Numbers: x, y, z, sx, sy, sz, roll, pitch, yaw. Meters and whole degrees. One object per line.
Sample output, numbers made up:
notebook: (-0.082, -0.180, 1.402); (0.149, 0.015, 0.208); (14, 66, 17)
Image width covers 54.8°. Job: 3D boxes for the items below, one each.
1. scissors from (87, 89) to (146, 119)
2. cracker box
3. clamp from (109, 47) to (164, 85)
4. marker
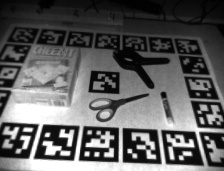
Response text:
scissors: (0.021, 0.041, 0.682); (0.204, 0.016, 0.086); (-19, 52, -23)
cracker box: (-0.208, -0.047, 0.704); (0.164, 0.072, 0.212); (4, 49, -1)
clamp: (0.075, -0.095, 0.811); (0.201, 0.037, 0.166); (27, 51, 16)
marker: (0.163, 0.051, 0.686); (0.020, 0.020, 0.120); (0, 49, -4)
